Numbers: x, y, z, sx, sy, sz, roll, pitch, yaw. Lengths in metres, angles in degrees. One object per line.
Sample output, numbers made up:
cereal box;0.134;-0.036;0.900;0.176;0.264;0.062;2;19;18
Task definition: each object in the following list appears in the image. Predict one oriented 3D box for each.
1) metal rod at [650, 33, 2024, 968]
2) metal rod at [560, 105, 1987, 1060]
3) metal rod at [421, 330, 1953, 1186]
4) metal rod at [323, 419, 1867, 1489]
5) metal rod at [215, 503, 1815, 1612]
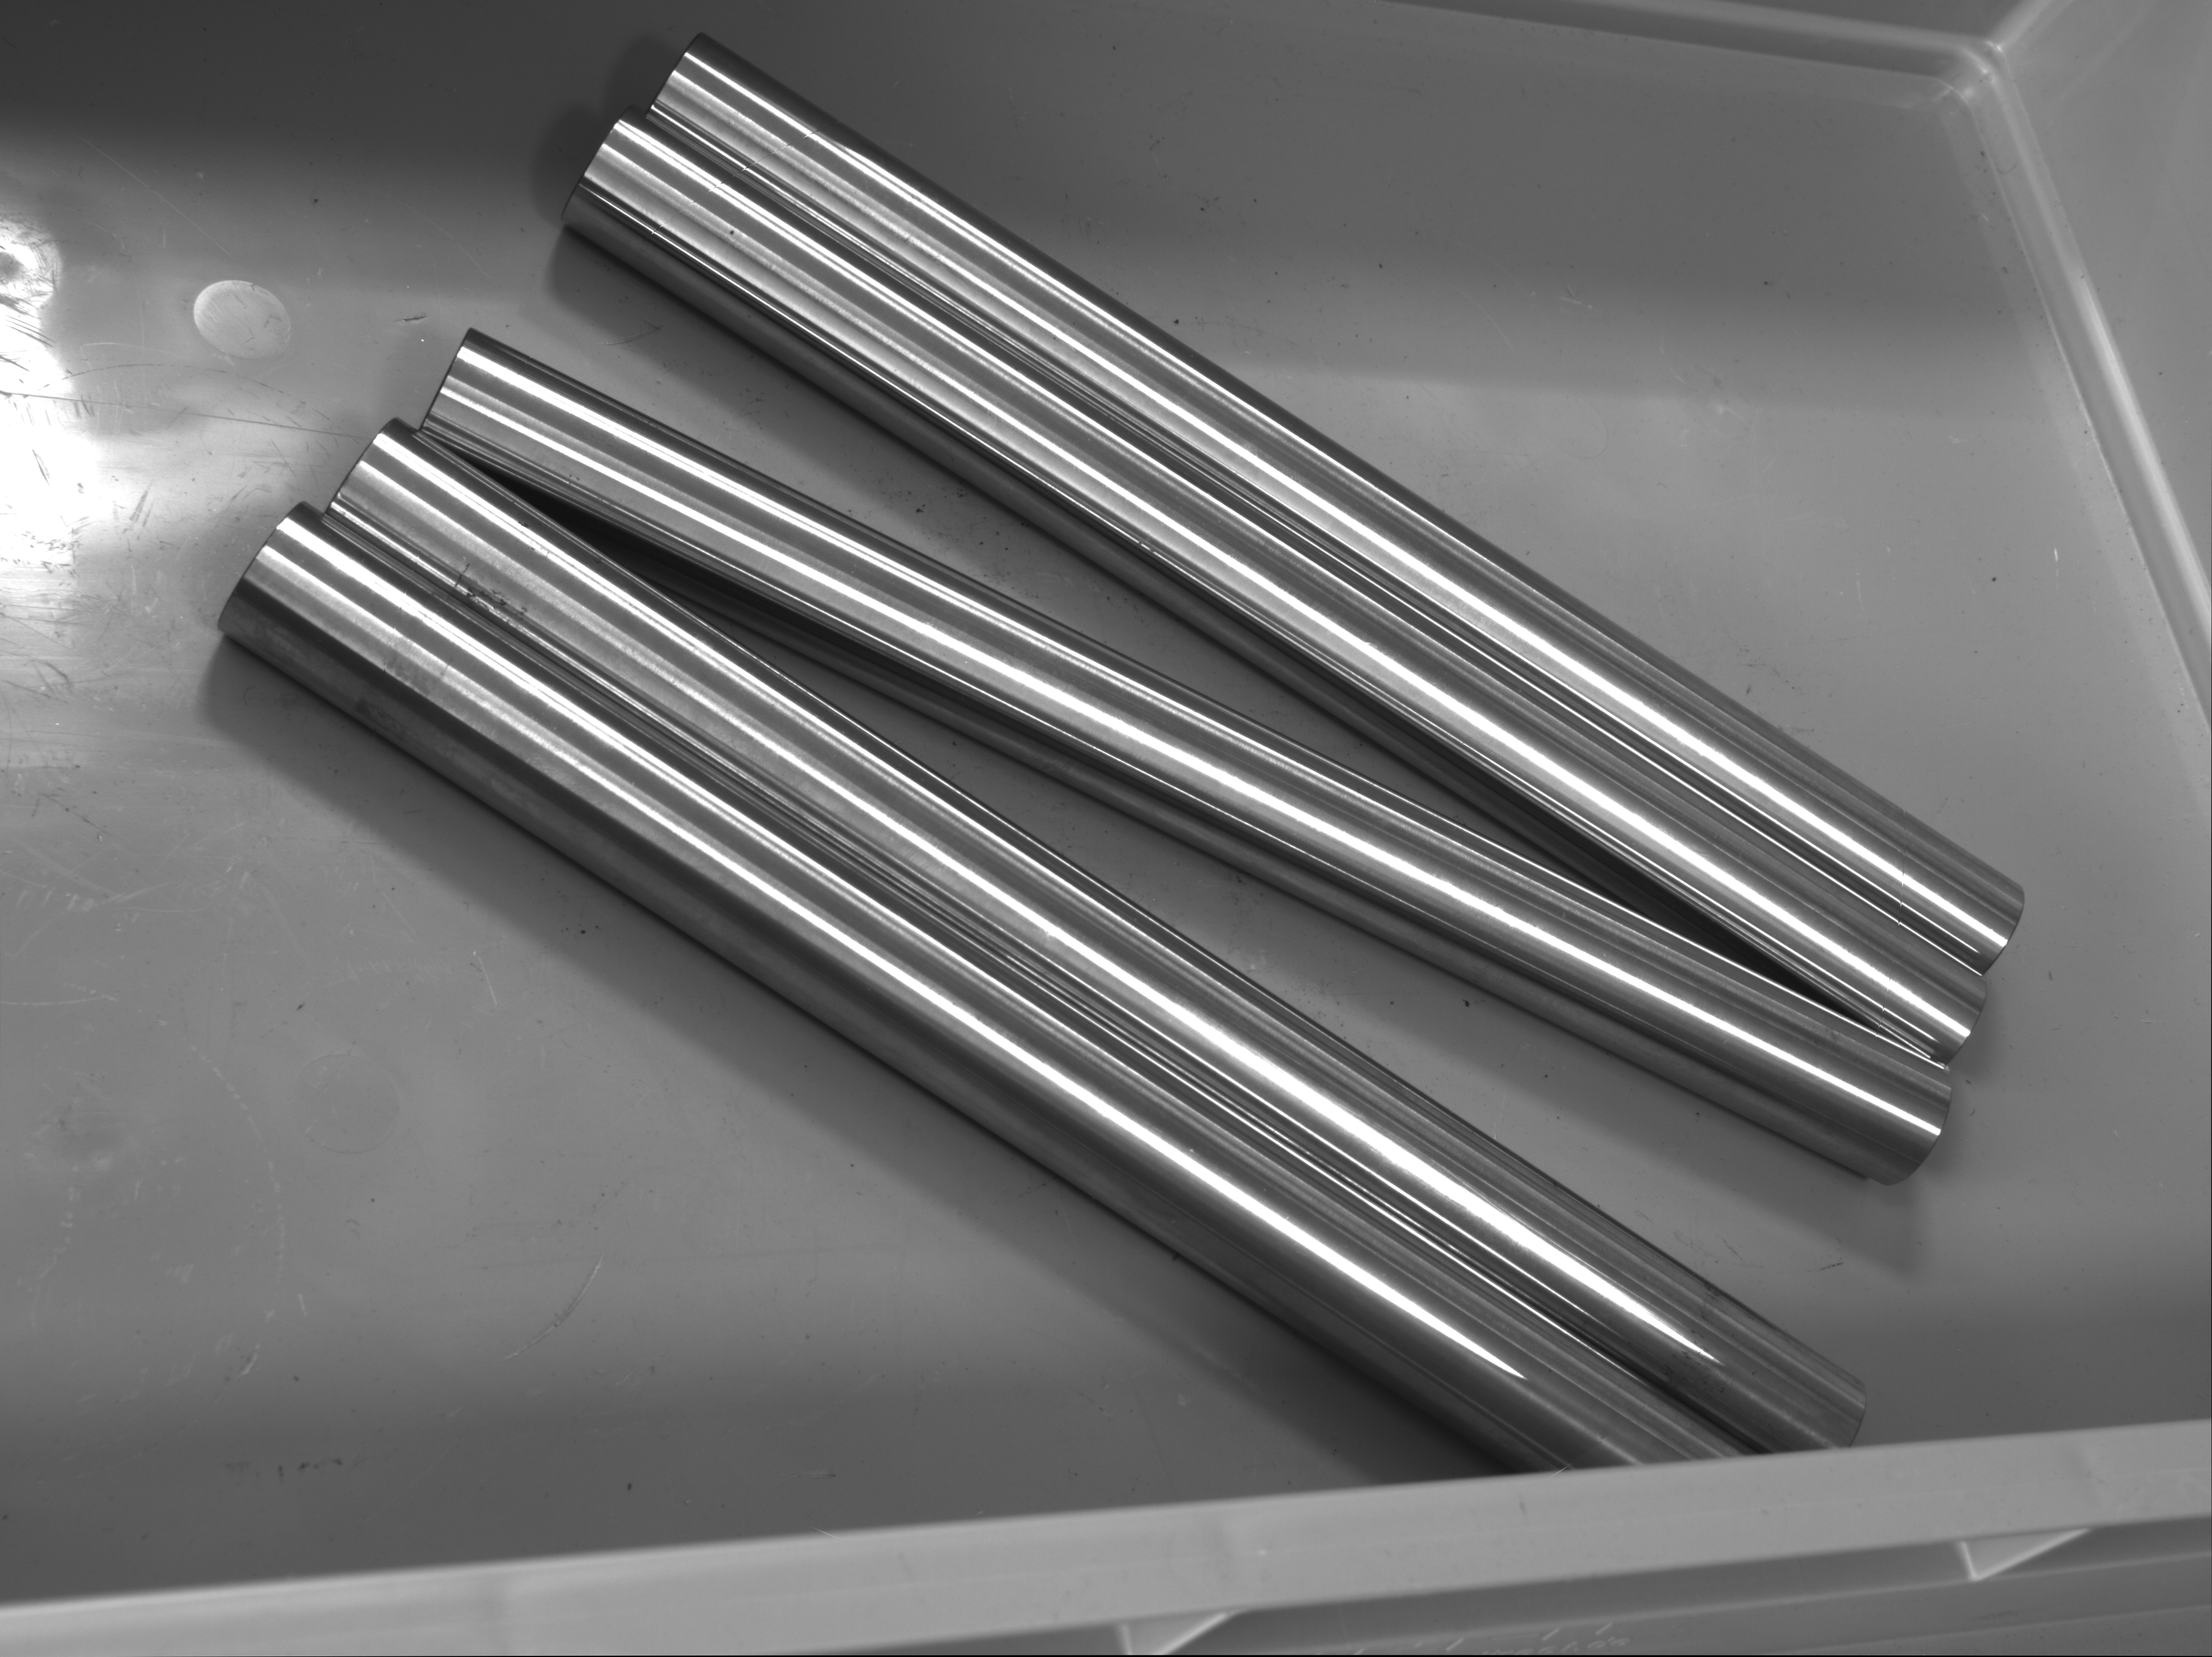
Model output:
metal rod;0.045;-0.057;0.697;0.300;0.025;0.025;32;51;-7
metal rod;0.034;-0.041;0.681;0.300;0.025;0.025;32;51;-7
metal rod;0.019;-0.009;0.653;0.300;0.025;0.025;26;52;-12
metal rod;0.000;0.025;0.623;0.300;0.025;0.025;33;51;-6
metal rod;-0.012;0.040;0.607;0.300;0.025;0.025;33;51;-6
